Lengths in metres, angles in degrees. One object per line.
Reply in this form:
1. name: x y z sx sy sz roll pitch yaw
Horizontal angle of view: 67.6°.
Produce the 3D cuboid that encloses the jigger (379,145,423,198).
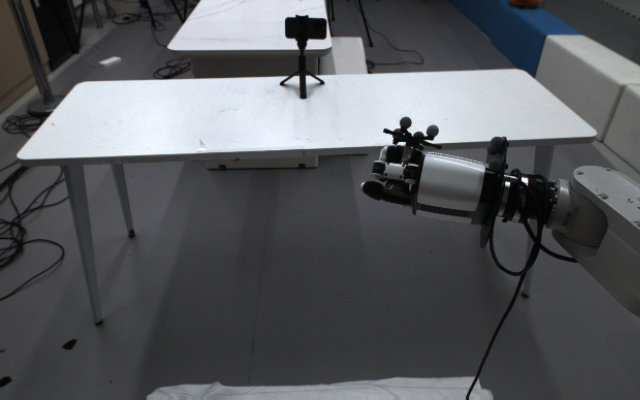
1. jigger: 0.122 -0.043 0.710 0.043 0.071 0.043 18 -6 2
